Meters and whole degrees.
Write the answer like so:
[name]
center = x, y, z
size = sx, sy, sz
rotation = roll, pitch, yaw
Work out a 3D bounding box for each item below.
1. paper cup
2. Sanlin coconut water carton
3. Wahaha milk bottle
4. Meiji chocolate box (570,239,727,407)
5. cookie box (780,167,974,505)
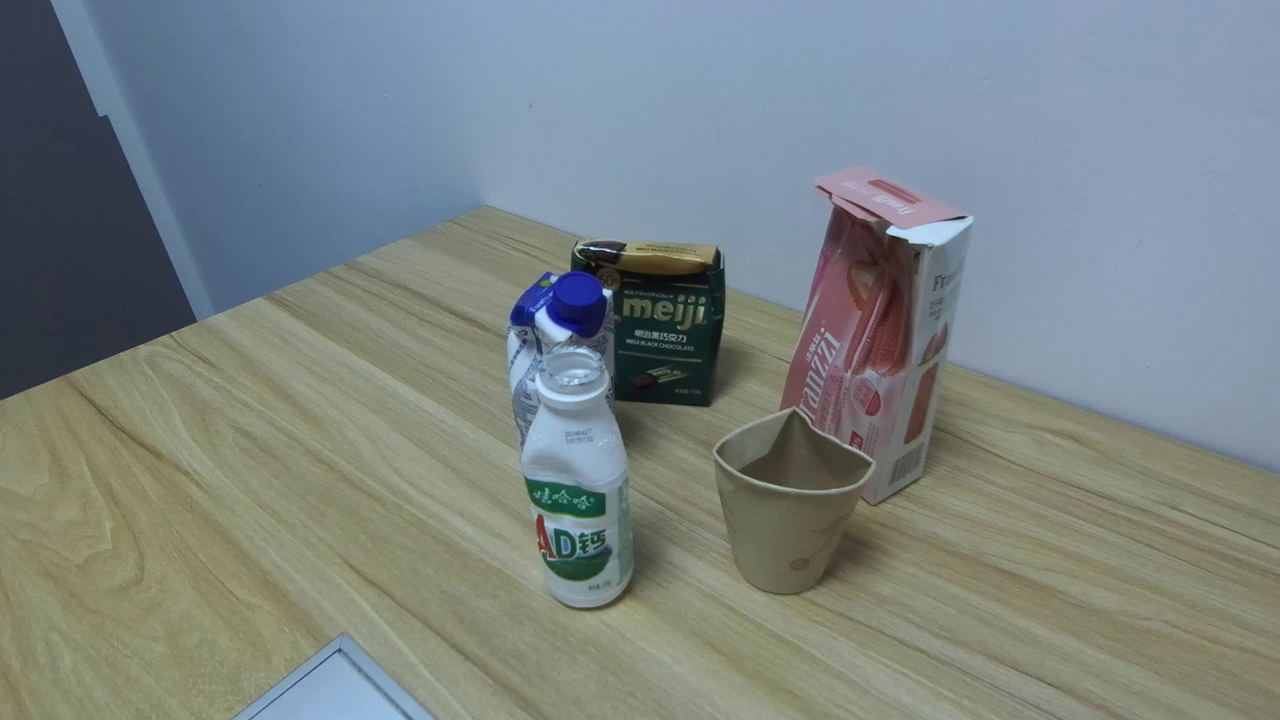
[paper cup]
center = 0.079, 0.082, 0.386
size = 0.066, 0.084, 0.071
rotation = -22, 39, -29
[Sanlin coconut water carton]
center = -0.051, 0.008, 0.446
size = 0.069, 0.144, 0.061
rotation = 24, 41, 31
[Wahaha milk bottle]
center = -0.029, 0.062, 0.365
size = 0.055, 0.149, 0.055
rotation = -1, 34, 1
[Meiji chocolate box]
center = 0.004, -0.029, 0.540
size = 0.113, 0.111, 0.058
rotation = 5, 23, 11
[cookie box]
center = 0.138, -0.013, 0.439
size = 0.055, 0.184, 0.118
rotation = -15, 35, -20
